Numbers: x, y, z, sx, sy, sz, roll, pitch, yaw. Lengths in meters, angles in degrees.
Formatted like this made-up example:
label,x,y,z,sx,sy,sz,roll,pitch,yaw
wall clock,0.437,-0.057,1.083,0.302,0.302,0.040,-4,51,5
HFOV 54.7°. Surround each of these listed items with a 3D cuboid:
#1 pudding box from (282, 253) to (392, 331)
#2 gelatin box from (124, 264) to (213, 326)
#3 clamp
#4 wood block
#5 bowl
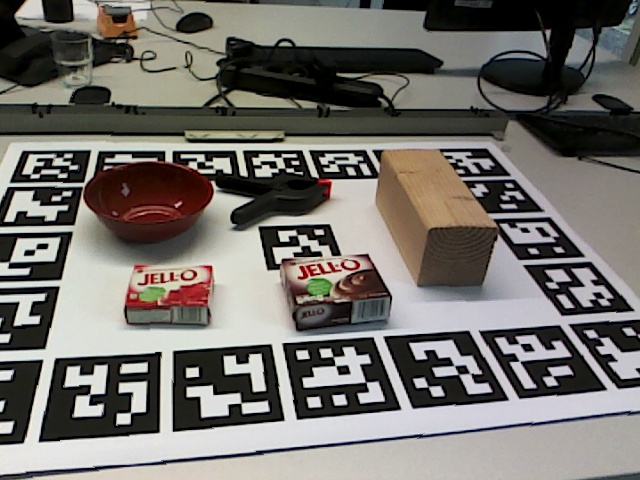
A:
label,x,y,z,sx,sy,sz,roll,pitch,yaw
pudding box,0.017,0.059,0.723,0.113,0.038,0.090,-4,40,-11
gelatin box,-0.168,0.060,0.697,0.089,0.030,0.073,3,36,-5
clamp,-0.076,-0.062,0.898,0.164,0.036,0.122,-7,37,-22
wood block,0.152,-0.035,0.833,0.089,0.091,0.207,0,35,-11
bowl,-0.225,-0.041,0.826,0.161,0.055,0.162,5,37,-4
